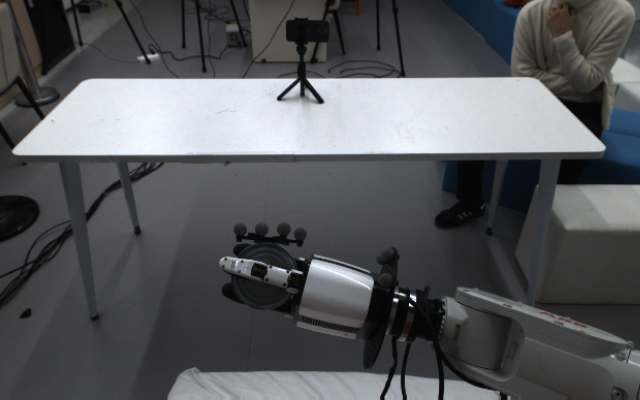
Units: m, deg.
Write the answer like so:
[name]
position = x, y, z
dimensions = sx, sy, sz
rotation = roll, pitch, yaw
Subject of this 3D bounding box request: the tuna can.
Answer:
[tuna can]
position = -0.068, 0.099, 0.628
dimensions = 0.085, 0.034, 0.085
rotation = 0, 77, 0
